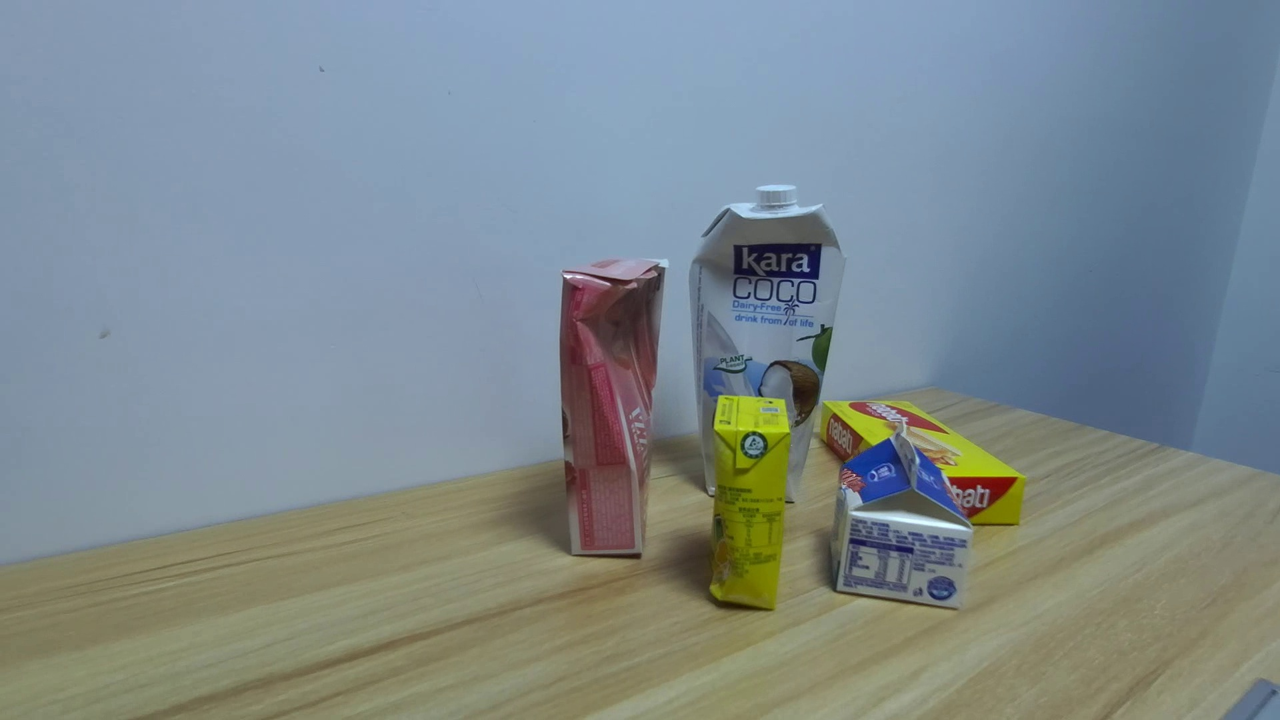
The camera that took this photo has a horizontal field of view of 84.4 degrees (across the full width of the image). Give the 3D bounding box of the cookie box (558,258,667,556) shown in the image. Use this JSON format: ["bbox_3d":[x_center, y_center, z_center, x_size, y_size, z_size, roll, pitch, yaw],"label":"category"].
[{"bbox_3d":[-0.016,0.027,0.468,0.055,0.184,0.118,5,14,9],"label":"cookie box"}]

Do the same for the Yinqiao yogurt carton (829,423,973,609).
[{"bbox_3d":[0.160,0.090,0.435,0.073,0.092,0.076,6,14,12],"label":"Yinqiao yogurt carton"}]

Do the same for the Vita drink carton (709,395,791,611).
[{"bbox_3d":[0.062,0.082,0.412,0.043,0.109,0.076,4,14,10],"label":"Vita drink carton"}]

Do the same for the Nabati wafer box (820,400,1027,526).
[{"bbox_3d":[0.231,0.081,0.612,0.093,0.042,0.202,1,13,-5],"label":"Nabati wafer box"}]

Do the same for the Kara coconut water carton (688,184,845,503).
[{"bbox_3d":[0.093,-0.013,0.547,0.115,0.238,0.069,3,16,6],"label":"Kara coconut water carton"}]
